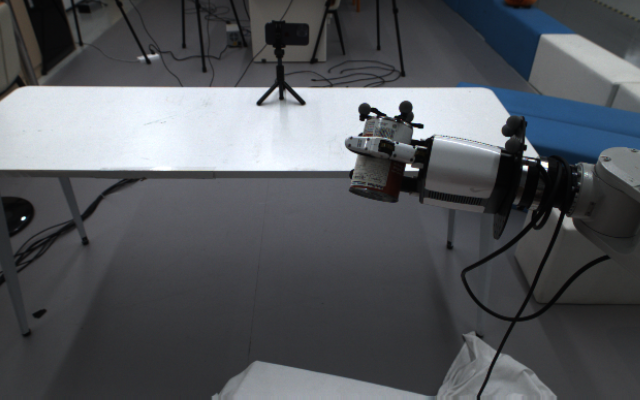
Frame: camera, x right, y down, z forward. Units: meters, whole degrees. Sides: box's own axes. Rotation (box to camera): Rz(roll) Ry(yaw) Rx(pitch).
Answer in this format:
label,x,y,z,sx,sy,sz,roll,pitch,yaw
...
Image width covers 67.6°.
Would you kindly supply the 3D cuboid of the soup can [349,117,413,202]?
label,x,y,z,sx,sy,sz,roll,pitch,yaw
soup can,0.084,-0.054,0.653,0.067,0.101,0.067,13,-6,1
